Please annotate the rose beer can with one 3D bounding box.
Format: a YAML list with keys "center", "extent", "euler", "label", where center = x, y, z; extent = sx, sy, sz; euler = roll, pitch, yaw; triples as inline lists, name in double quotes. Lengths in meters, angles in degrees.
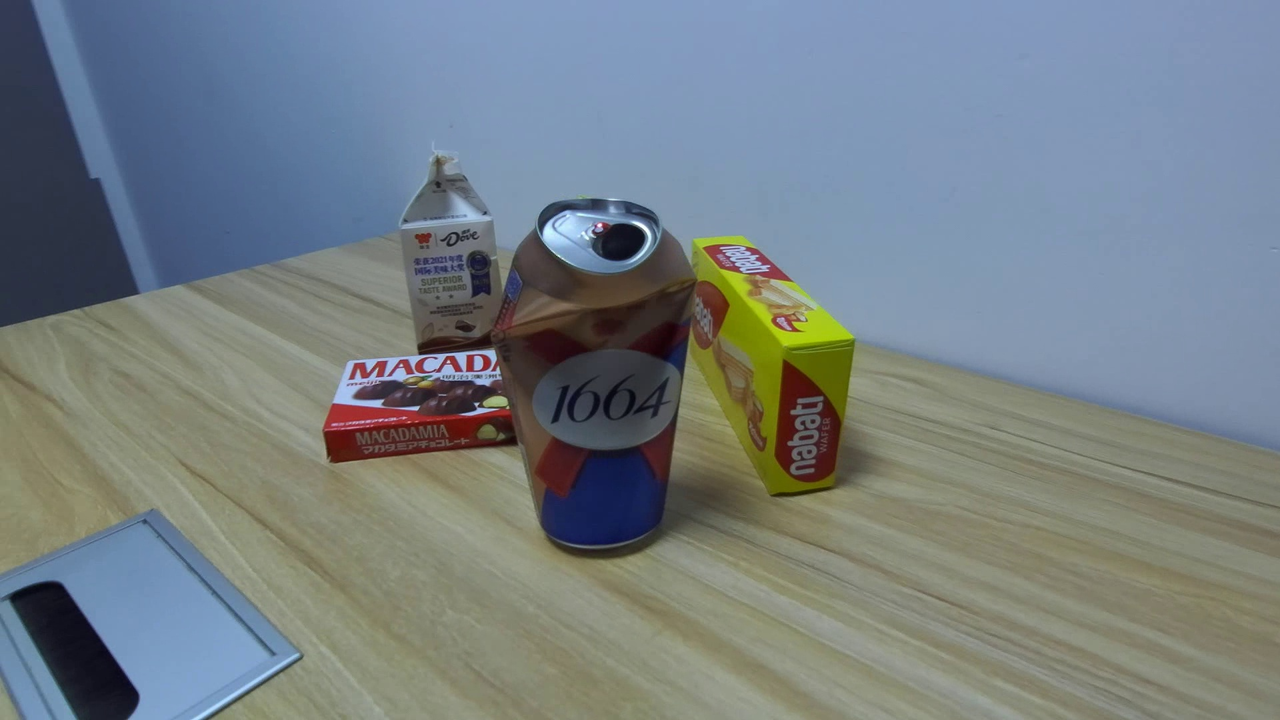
- center: [-0.019, 0.012, 0.335]
  extent: [0.069, 0.168, 0.069]
  euler: [18, 31, 30]
  label: "rose beer can"

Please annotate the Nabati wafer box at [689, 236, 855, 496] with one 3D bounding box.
- center: [0.077, -0.010, 0.463]
  extent: [0.042, 0.093, 0.202]
  euler: [-6, 26, -7]
  label: "Nabati wafer box"

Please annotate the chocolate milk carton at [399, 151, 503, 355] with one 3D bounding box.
- center: [-0.136, -0.079, 0.558]
  extent: [0.073, 0.155, 0.084]
  euler: [-6, 4, 3]
  label: "chocolate milk carton"

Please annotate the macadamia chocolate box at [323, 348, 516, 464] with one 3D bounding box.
- center: [-0.106, 0.025, 0.477]
  extent: [0.187, 0.027, 0.102]
  euler: [-6, 29, -10]
  label: "macadamia chocolate box"
